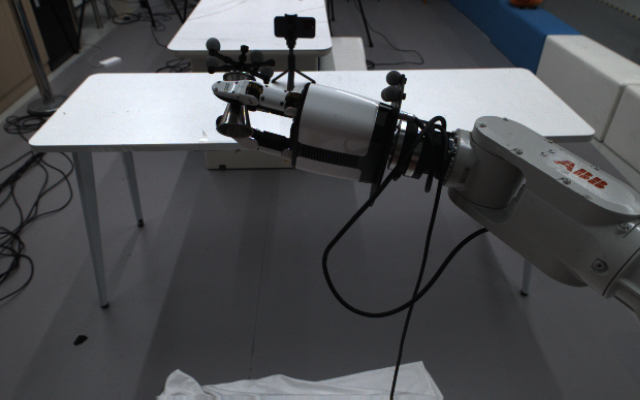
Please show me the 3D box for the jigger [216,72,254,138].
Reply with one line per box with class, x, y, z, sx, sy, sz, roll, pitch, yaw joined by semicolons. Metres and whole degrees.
jigger;-0.103;-0.115;0.579;0.043;0.043;0.071;2;76;0
